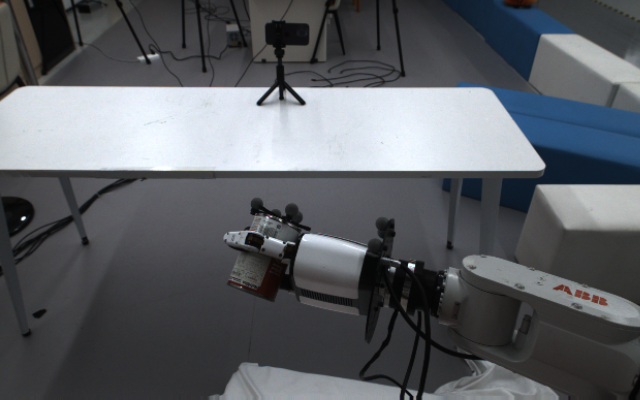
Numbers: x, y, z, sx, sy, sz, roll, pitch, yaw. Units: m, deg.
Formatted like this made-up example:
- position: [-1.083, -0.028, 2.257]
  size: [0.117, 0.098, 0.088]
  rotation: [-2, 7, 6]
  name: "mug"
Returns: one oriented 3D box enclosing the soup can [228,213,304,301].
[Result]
- position: [-0.072, 0.077, 0.642]
  size: [0.067, 0.067, 0.101]
  rotation: [16, 75, 19]
  name: "soup can"
